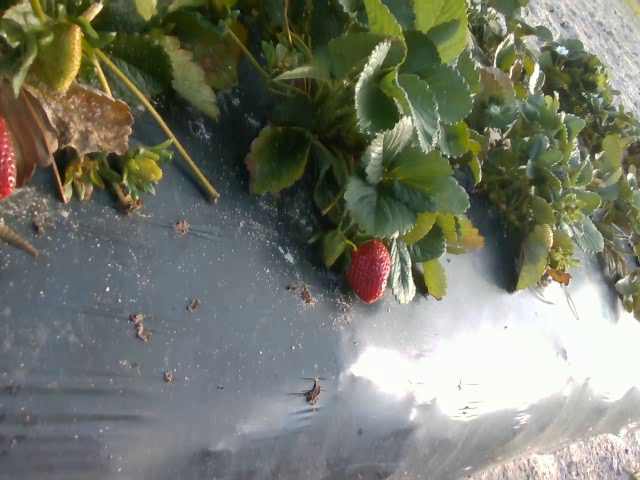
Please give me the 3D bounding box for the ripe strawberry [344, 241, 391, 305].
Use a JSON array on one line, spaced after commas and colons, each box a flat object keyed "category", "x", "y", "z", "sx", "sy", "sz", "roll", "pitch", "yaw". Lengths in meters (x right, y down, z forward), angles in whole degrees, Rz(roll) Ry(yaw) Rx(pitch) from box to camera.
[{"category": "ripe strawberry", "x": 0.024, "y": 0.017, "z": 0.289, "sx": 0.029, "sy": 0.036, "sz": 0.021, "roll": 12, "pitch": -25, "yaw": -37}]
